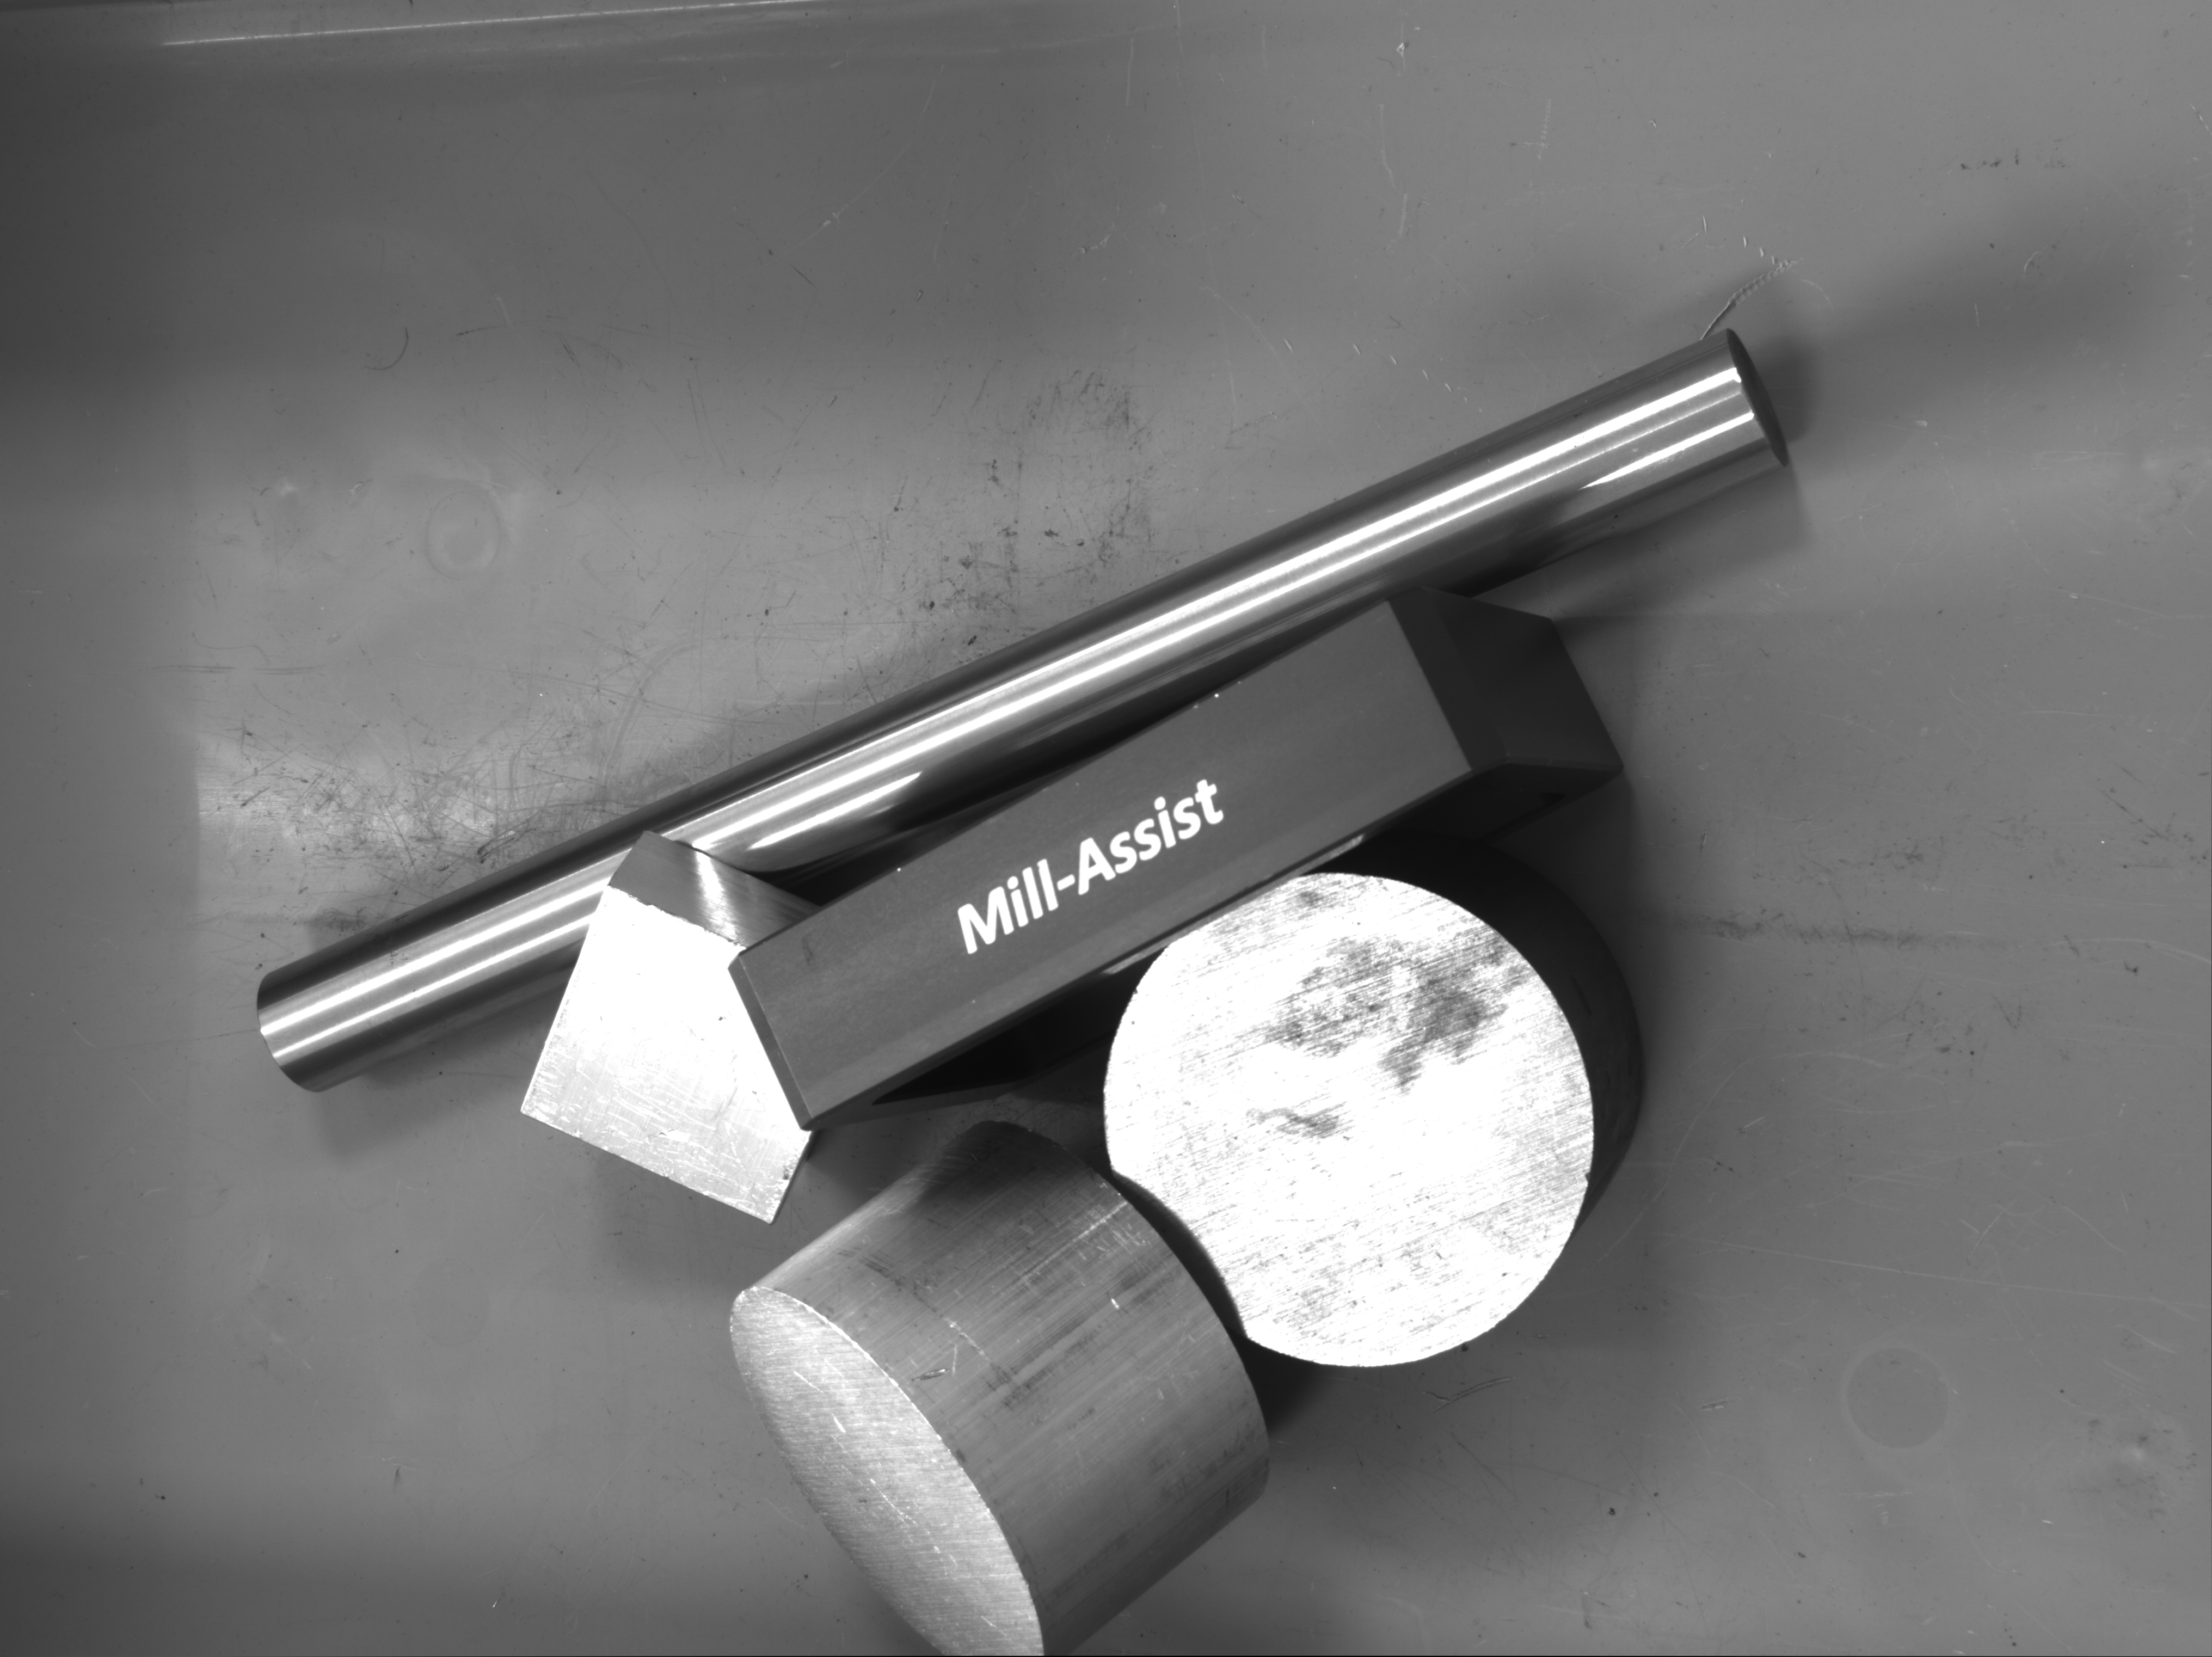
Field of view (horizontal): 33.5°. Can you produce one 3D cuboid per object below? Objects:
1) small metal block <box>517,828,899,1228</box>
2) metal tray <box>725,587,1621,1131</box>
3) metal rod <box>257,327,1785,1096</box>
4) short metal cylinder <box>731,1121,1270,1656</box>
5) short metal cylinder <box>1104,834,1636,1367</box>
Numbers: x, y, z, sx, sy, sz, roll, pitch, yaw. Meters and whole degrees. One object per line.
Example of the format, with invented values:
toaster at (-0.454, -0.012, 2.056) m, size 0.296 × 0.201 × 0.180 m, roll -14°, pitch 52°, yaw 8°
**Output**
small metal block at (-0.071, 0.036, 0.658) m, size 0.050 × 0.025 × 0.050 m, roll 25°, pitch 115°, yaw 0°
metal tray at (0.013, 0.006, 0.606) m, size 0.130 × 0.090 × 0.030 m, roll -28°, pitch 80°, yaw 18°
metal rod at (-0.023, -0.016, 0.654) m, size 0.299 × 0.025 × 0.025 m, roll -23°, pitch 82°, yaw 18°
short metal cylinder at (-0.018, 0.096, 0.615) m, size 0.050 × 0.080 × 0.080 m, roll -34°, pitch 75°, yaw -26°
short metal cylinder at (0.045, 0.044, 0.610) m, size 0.080 × 0.050 × 0.080 m, roll 2°, pitch 99°, yaw 16°
